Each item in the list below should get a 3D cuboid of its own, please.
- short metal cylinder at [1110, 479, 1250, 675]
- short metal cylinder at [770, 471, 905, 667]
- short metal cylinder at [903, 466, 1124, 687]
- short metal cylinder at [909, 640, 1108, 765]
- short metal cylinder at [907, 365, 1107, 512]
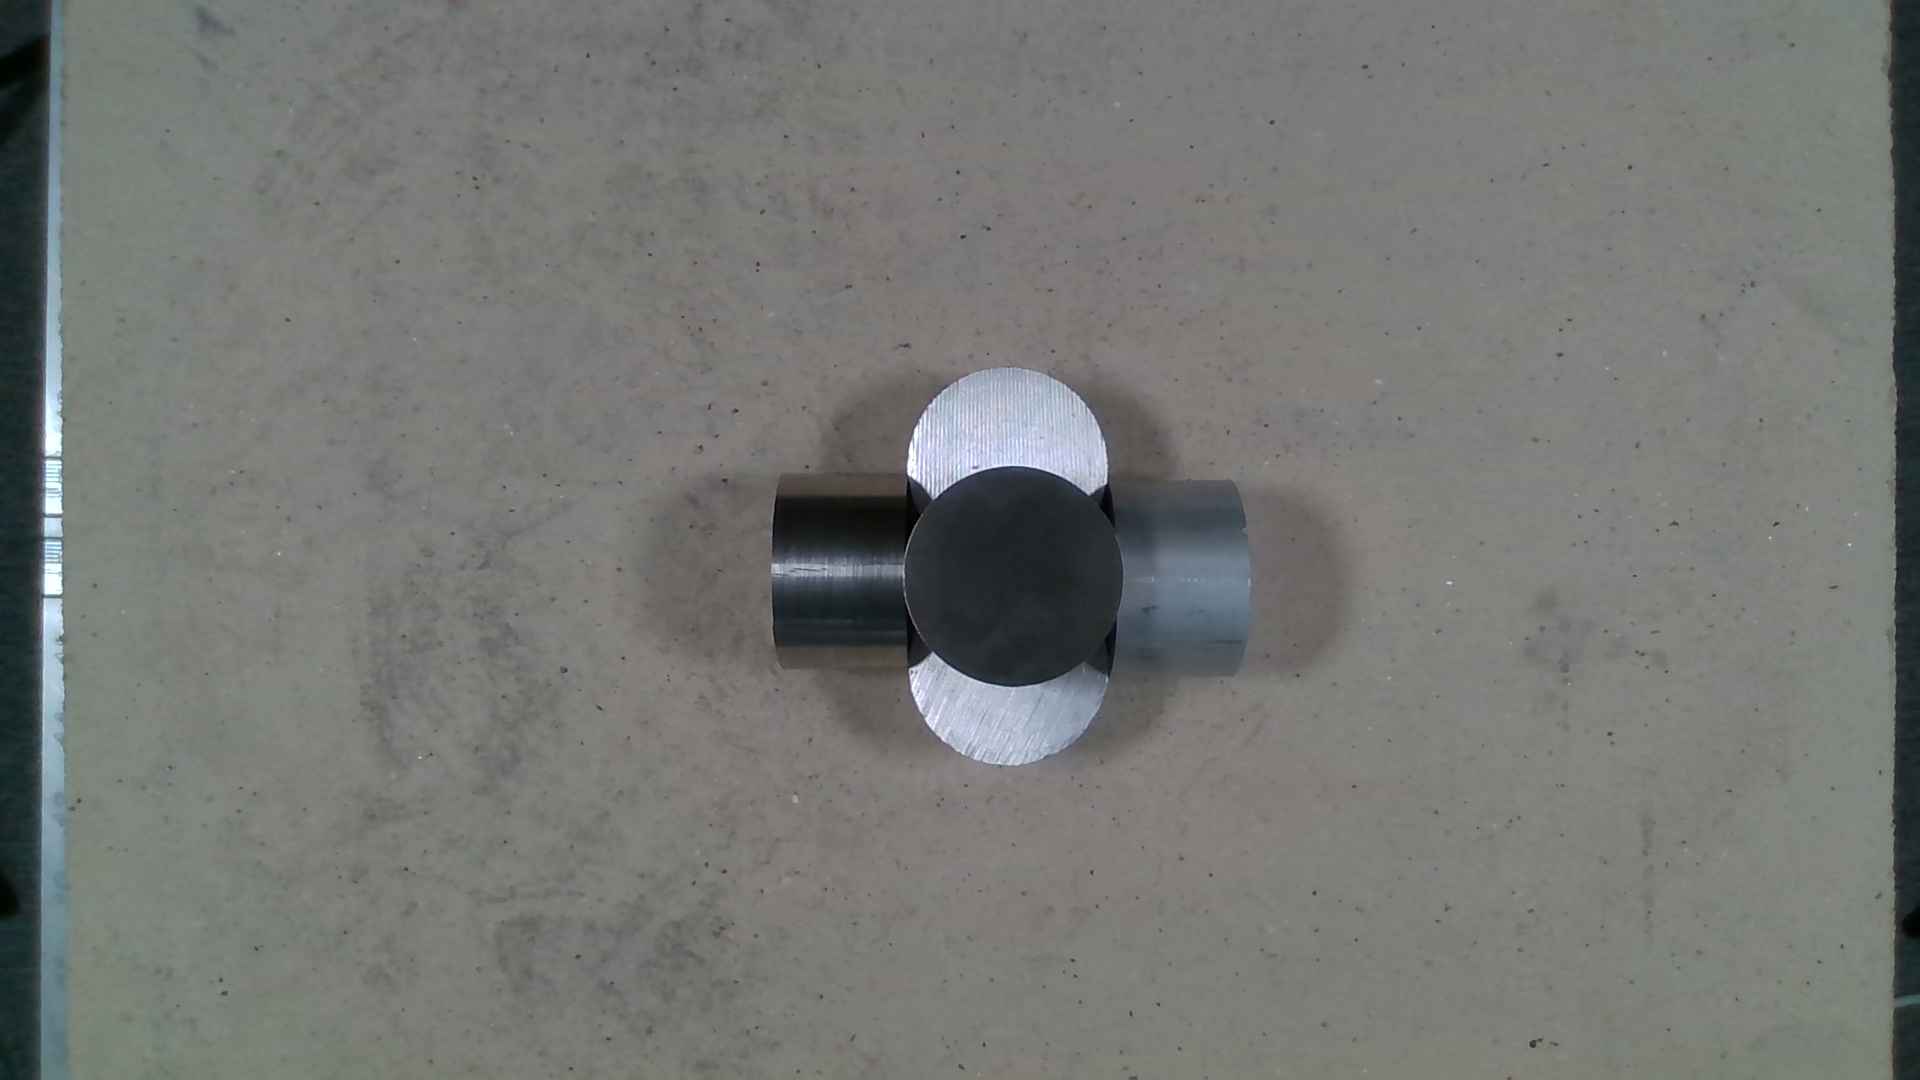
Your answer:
[{"bbox_3d":[0.085,0.015,0.560,0.050,0.080,0.080,0,90,0],"label":"short metal cylinder"},{"bbox_3d":[-0.047,0.012,0.560,0.050,0.080,0.080,0,90,0],"label":"short metal cylinder"},{"bbox_3d":[0.019,0.013,0.524,0.080,0.050,0.080,0,90,0],"label":"short metal cylinder"},{"bbox_3d":[0.020,0.050,0.575,0.080,0.050,0.080,0,90,0],"label":"short metal cylinder"},{"bbox_3d":[0.019,-0.030,0.574,0.080,0.050,0.080,0,90,0],"label":"short metal cylinder"}]
